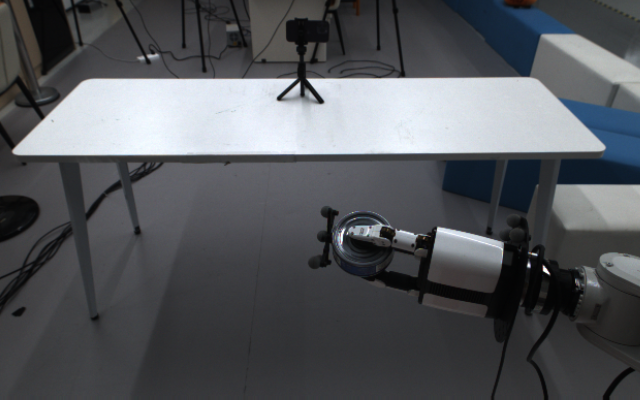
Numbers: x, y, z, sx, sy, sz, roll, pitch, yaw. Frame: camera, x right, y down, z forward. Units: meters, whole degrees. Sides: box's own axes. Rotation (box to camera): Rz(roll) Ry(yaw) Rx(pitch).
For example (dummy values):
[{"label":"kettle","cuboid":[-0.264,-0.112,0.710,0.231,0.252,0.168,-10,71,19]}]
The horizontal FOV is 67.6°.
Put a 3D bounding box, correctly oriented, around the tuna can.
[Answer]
[{"label":"tuna can","cuboid":[0.062,0.061,0.649,0.085,0.034,0.085,-2,57,3]}]
